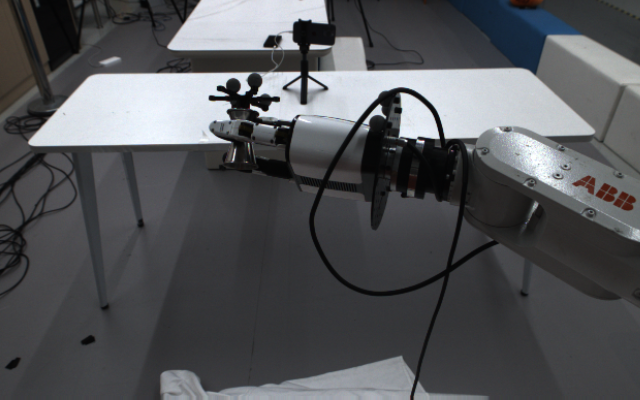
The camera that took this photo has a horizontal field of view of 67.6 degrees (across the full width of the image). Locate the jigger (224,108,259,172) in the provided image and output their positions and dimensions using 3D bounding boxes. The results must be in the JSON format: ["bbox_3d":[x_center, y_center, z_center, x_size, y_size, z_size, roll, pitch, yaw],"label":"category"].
[{"bbox_3d":[-0.096,-0.075,0.597,0.043,0.071,0.043,2,-6,0],"label":"jigger"}]
